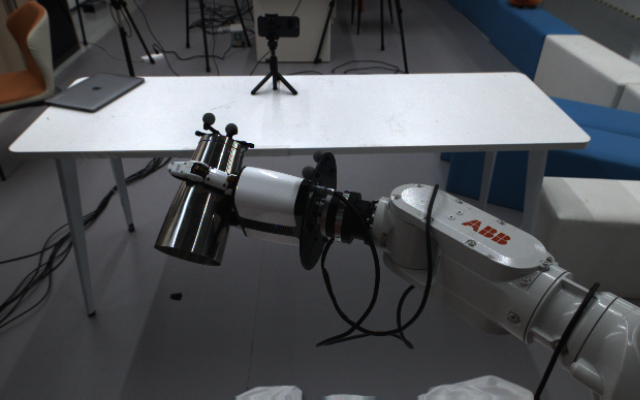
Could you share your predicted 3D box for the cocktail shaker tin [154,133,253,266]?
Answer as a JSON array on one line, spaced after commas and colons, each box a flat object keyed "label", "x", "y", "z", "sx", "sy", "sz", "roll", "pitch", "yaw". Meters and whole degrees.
[{"label": "cocktail shaker tin", "x": -0.159, "y": -0.002, "z": 0.675, "sx": 0.093, "sy": 0.093, "sz": 0.170, "roll": 10, "pitch": 71, "yaw": 11}]
